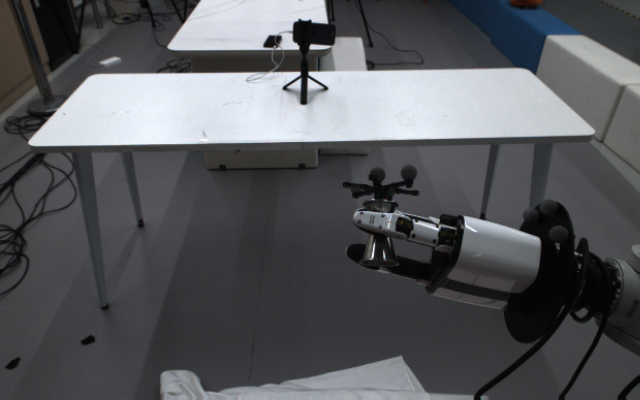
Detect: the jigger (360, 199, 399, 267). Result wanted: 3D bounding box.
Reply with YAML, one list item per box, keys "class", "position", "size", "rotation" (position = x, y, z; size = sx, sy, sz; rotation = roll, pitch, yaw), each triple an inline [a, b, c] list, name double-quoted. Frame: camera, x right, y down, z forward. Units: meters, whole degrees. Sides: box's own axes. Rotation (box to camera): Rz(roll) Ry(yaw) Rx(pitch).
- class: "jigger"
  position: [0.066, 0.037, 0.540]
  size: [0.043, 0.043, 0.071]
  rotation: [3, 75, 1]
